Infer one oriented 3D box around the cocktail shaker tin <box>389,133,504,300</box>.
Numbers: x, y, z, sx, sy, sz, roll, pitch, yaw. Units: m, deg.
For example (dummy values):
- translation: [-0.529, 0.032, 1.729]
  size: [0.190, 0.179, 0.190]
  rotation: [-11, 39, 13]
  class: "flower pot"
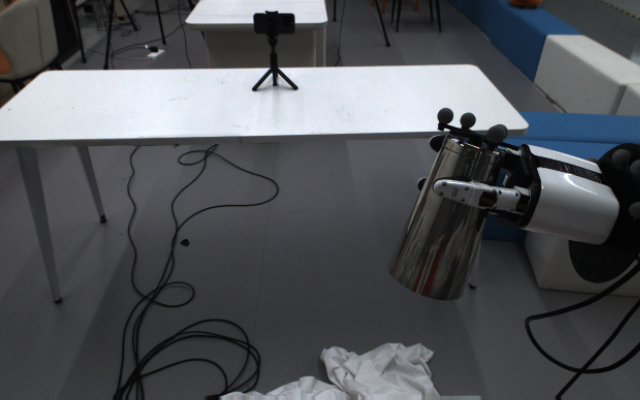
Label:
- translation: [0.150, 0.013, 0.554]
  size: [0.093, 0.170, 0.093]
  rotation: [14, 19, -5]
  class: "cocktail shaker tin"
